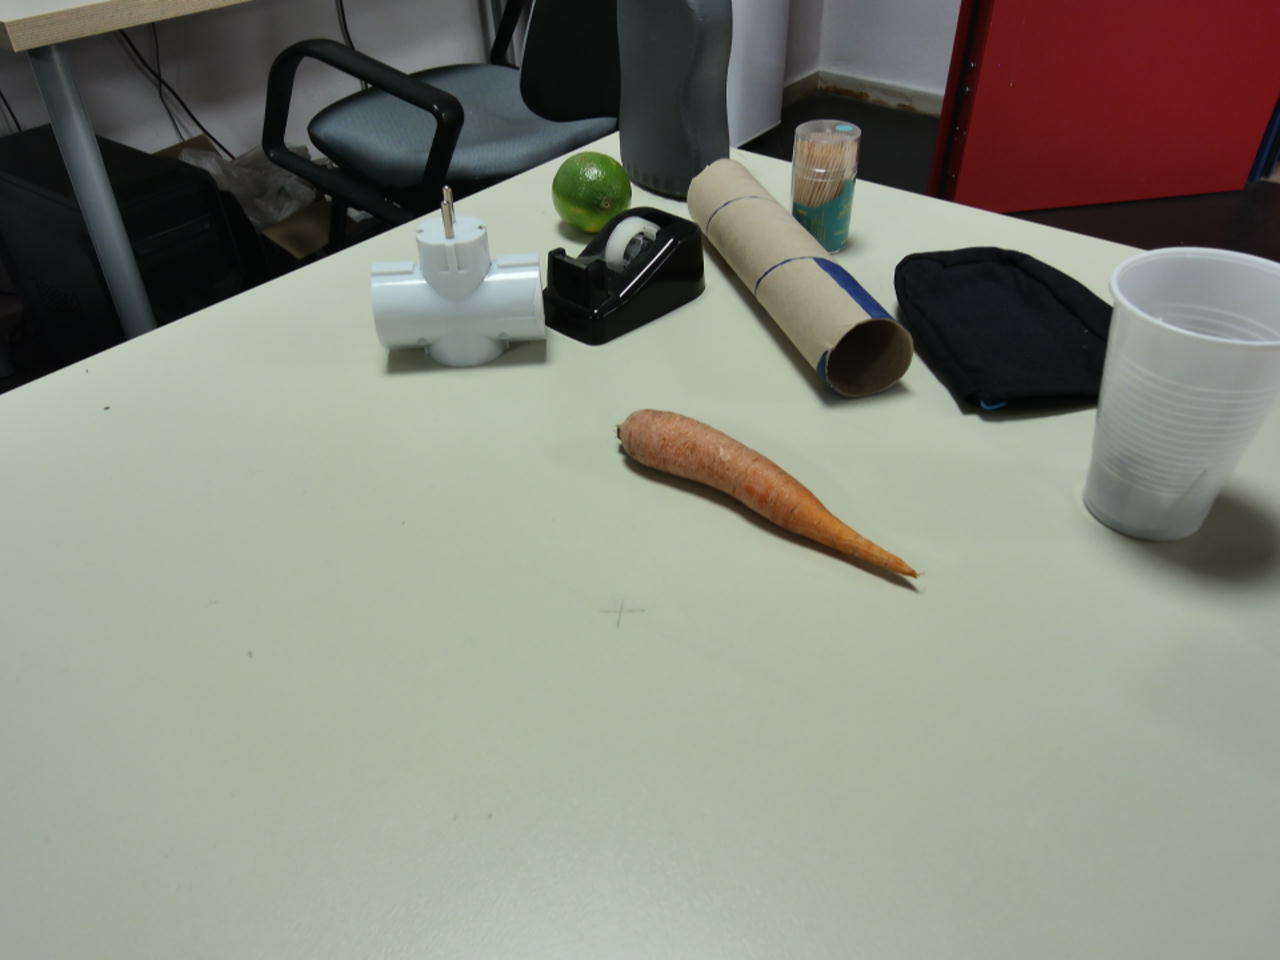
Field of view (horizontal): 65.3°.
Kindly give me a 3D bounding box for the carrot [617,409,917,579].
[{"bbox_3d":[0.053,0.002,0.449,0.163,0.029,0.031,27,44,31],"label":"carrot"}]
